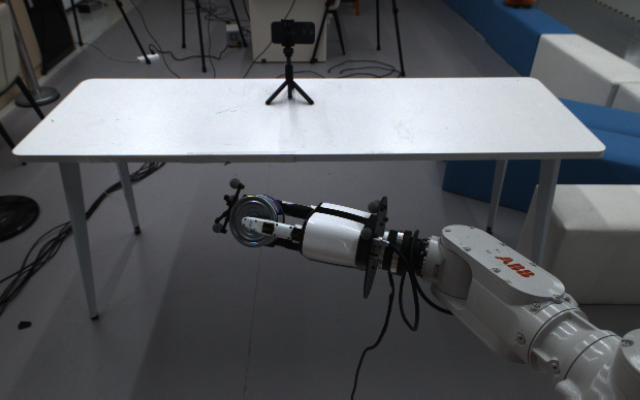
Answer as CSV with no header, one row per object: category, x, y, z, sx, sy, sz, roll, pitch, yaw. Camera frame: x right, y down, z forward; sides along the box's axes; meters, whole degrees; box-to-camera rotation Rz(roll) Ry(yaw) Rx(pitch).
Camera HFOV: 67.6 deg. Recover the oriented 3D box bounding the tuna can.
tuna can,-0.101,0.032,0.780,0.085,0.085,0.034,12,5,14
